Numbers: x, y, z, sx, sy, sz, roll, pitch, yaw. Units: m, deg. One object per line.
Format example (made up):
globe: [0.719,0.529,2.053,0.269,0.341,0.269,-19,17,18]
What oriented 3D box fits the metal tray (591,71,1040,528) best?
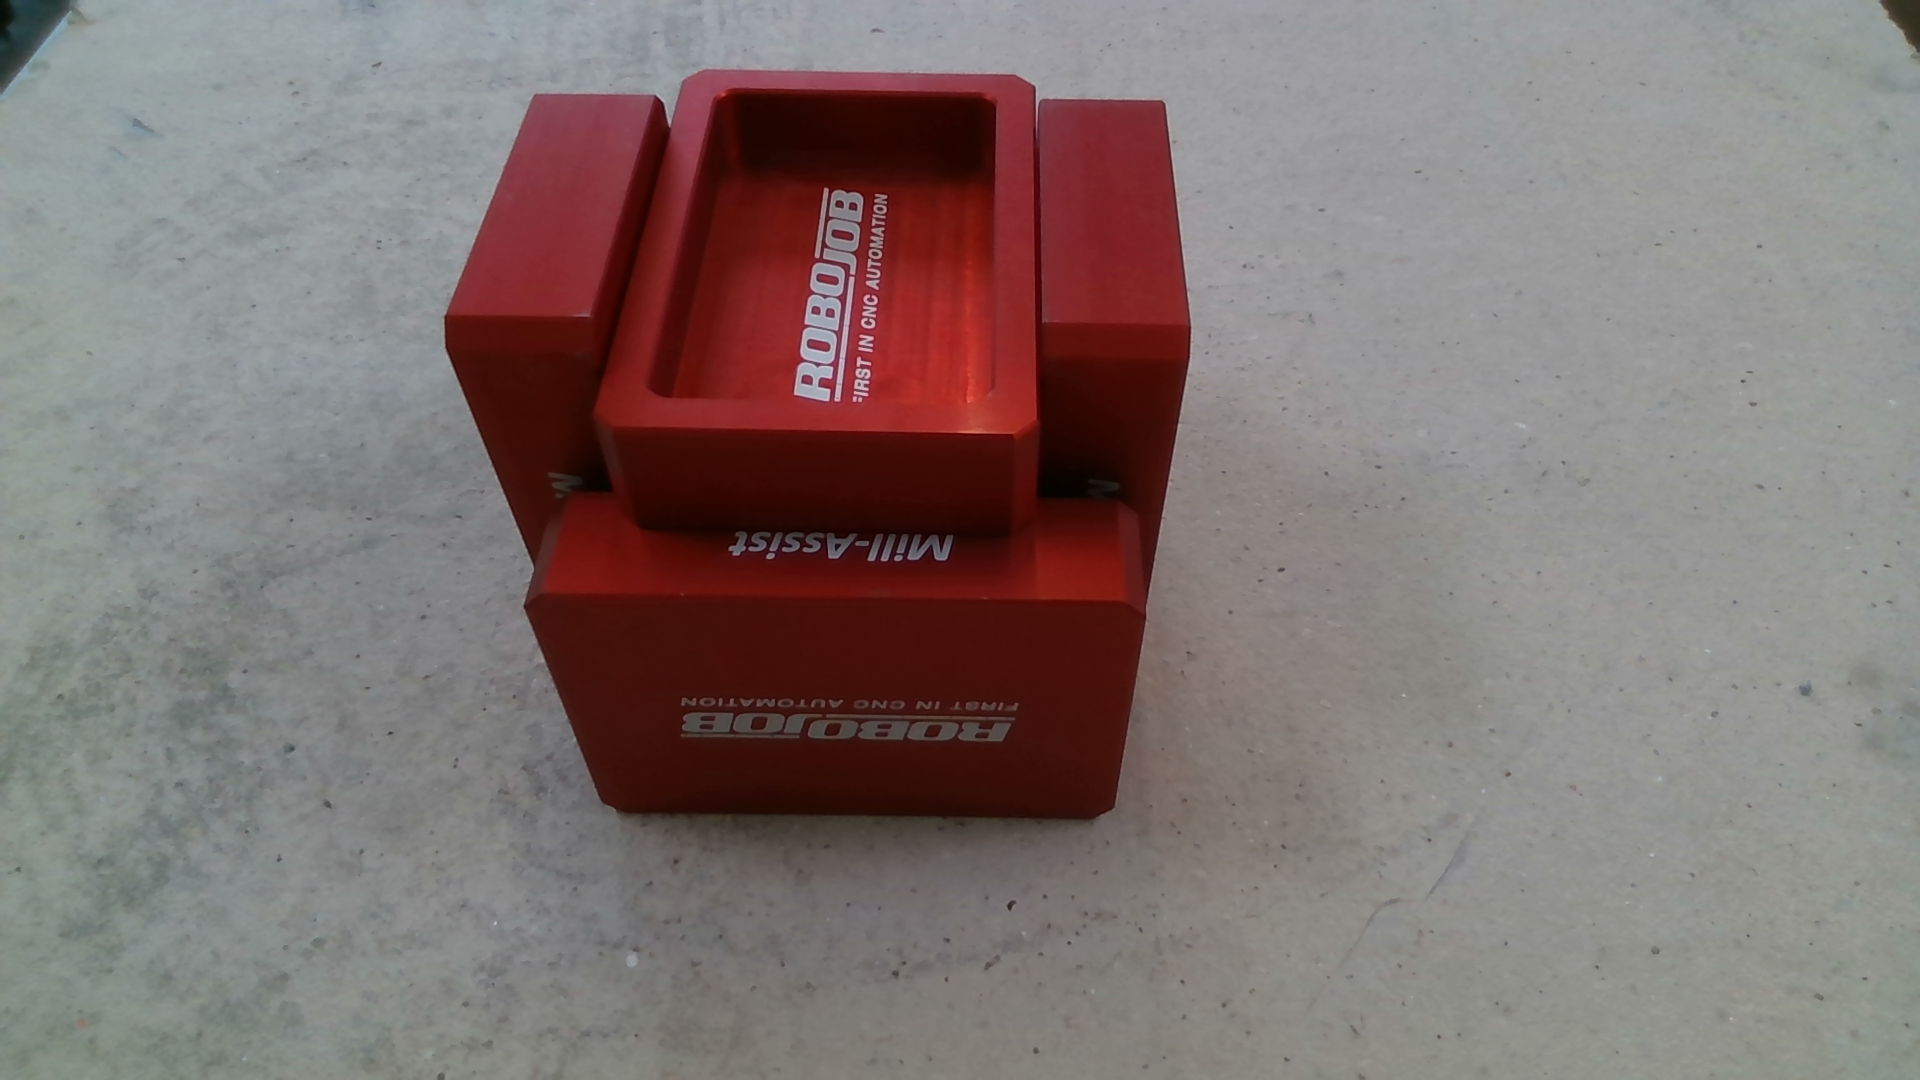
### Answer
metal tray: [-0.027,-0.062,0.324,0.090,0.030,0.130,1,50,1]

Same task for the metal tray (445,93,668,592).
metal tray: [-0.088,-0.034,0.353,0.030,0.130,0.090,1,50,1]

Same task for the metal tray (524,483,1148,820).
metal tray: [-0.026,0.029,0.326,0.130,0.090,0.030,2,49,0]

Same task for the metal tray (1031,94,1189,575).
metal tray: [0.032,-0.033,0.352,0.030,0.130,0.090,1,50,1]

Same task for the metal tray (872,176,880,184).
metal tray: [-0.032,-0.069,0.408,0.130,0.090,0.030,-1,51,-1]
